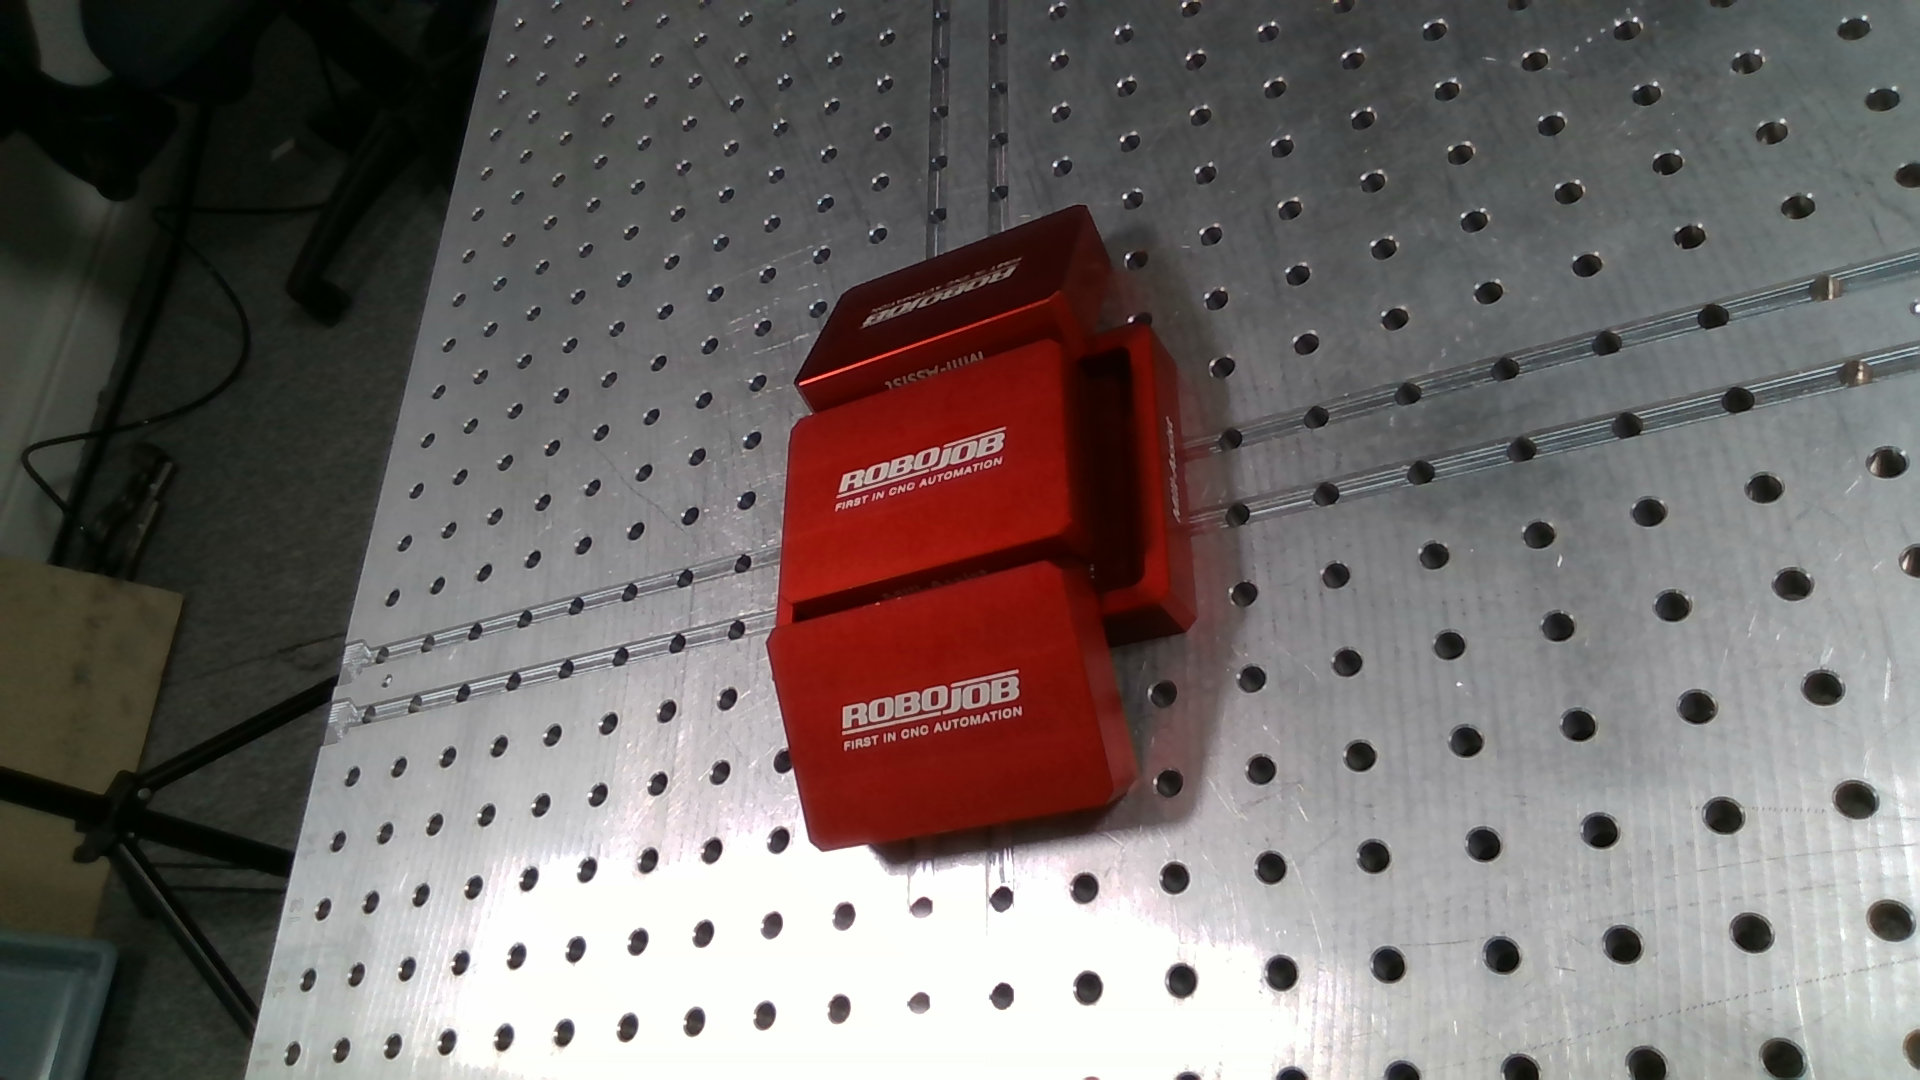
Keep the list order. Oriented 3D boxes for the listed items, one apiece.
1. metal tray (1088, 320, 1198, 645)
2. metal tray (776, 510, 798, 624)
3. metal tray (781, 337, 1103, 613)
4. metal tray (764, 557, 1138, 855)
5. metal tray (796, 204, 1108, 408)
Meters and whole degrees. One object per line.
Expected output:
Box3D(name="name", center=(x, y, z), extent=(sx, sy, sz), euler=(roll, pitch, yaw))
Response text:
Box3D(name="metal tray", center=(0.046, -0.019, 0.567), extent=(0.090, 0.030, 0.130), euler=(-14, 59, 25))
Box3D(name="metal tray", center=(-0.034, 0.003, 0.605), extent=(0.090, 0.030, 0.130), euler=(-14, 59, 25))
Box3D(name="metal tray", center=(-0.009, -0.021, 0.563), extent=(0.130, 0.030, 0.090), euler=(-15, 59, 25))
Box3D(name="metal tray", center=(-0.006, 0.065, 0.530), extent=(0.130, 0.030, 0.090), euler=(-15, 86, 25))
Box3D(name="metal tray", center=(-0.002, -0.099, 0.616), extent=(0.130, 0.030, 0.090), euler=(-15, 32, 25))
